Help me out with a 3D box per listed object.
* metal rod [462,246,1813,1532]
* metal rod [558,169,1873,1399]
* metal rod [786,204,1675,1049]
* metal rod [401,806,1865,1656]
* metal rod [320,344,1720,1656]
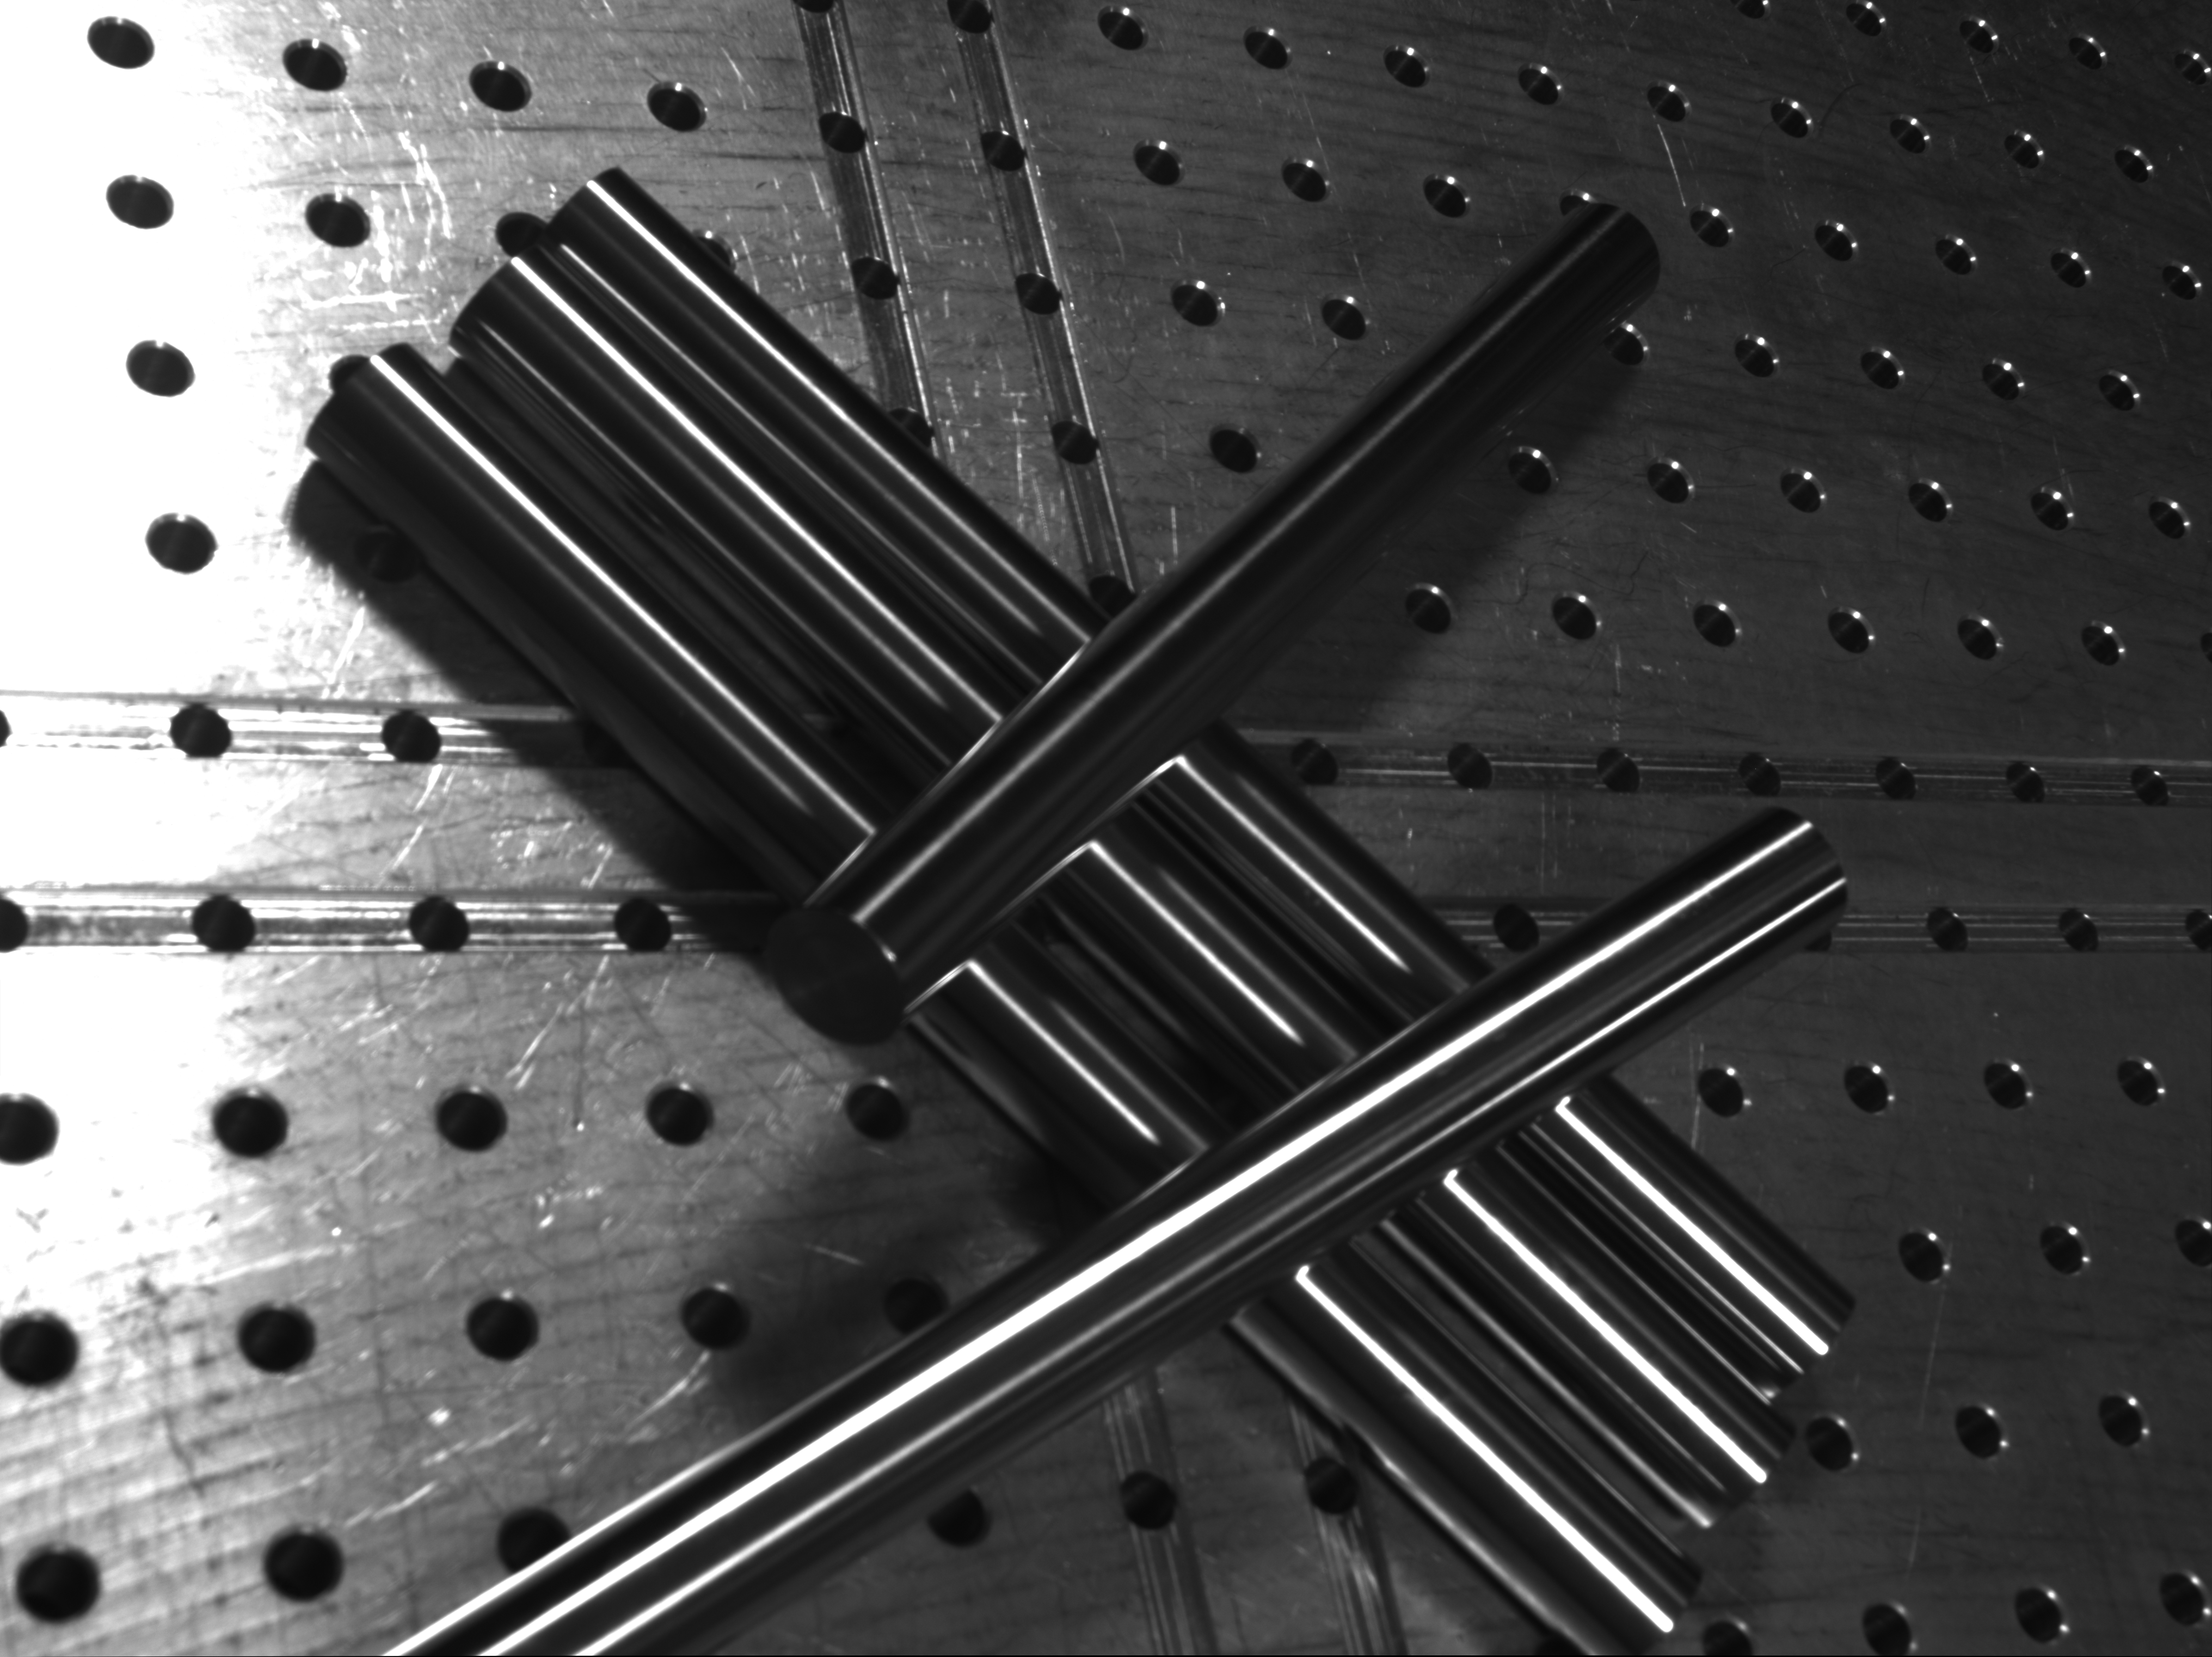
[{"bbox_3d":[0.005,0.010,0.639,0.300,0.025,0.025,43,51,2],"label":"metal rod"},{"bbox_3d":[0.018,-0.008,0.657,0.300,0.025,0.025,42,51,1],"label":"metal rod"},{"bbox_3d":[0.035,-0.049,0.665,0.025,0.025,0.300,44,43,2],"label":"metal rod"},{"bbox_3d":[0.010,0.071,0.578,0.301,0.025,0.025,-29,77,-29],"label":"metal rod"},{"bbox_3d":[-0.015,0.030,0.616,0.300,0.025,0.025,43,51,2],"label":"metal rod"}]
